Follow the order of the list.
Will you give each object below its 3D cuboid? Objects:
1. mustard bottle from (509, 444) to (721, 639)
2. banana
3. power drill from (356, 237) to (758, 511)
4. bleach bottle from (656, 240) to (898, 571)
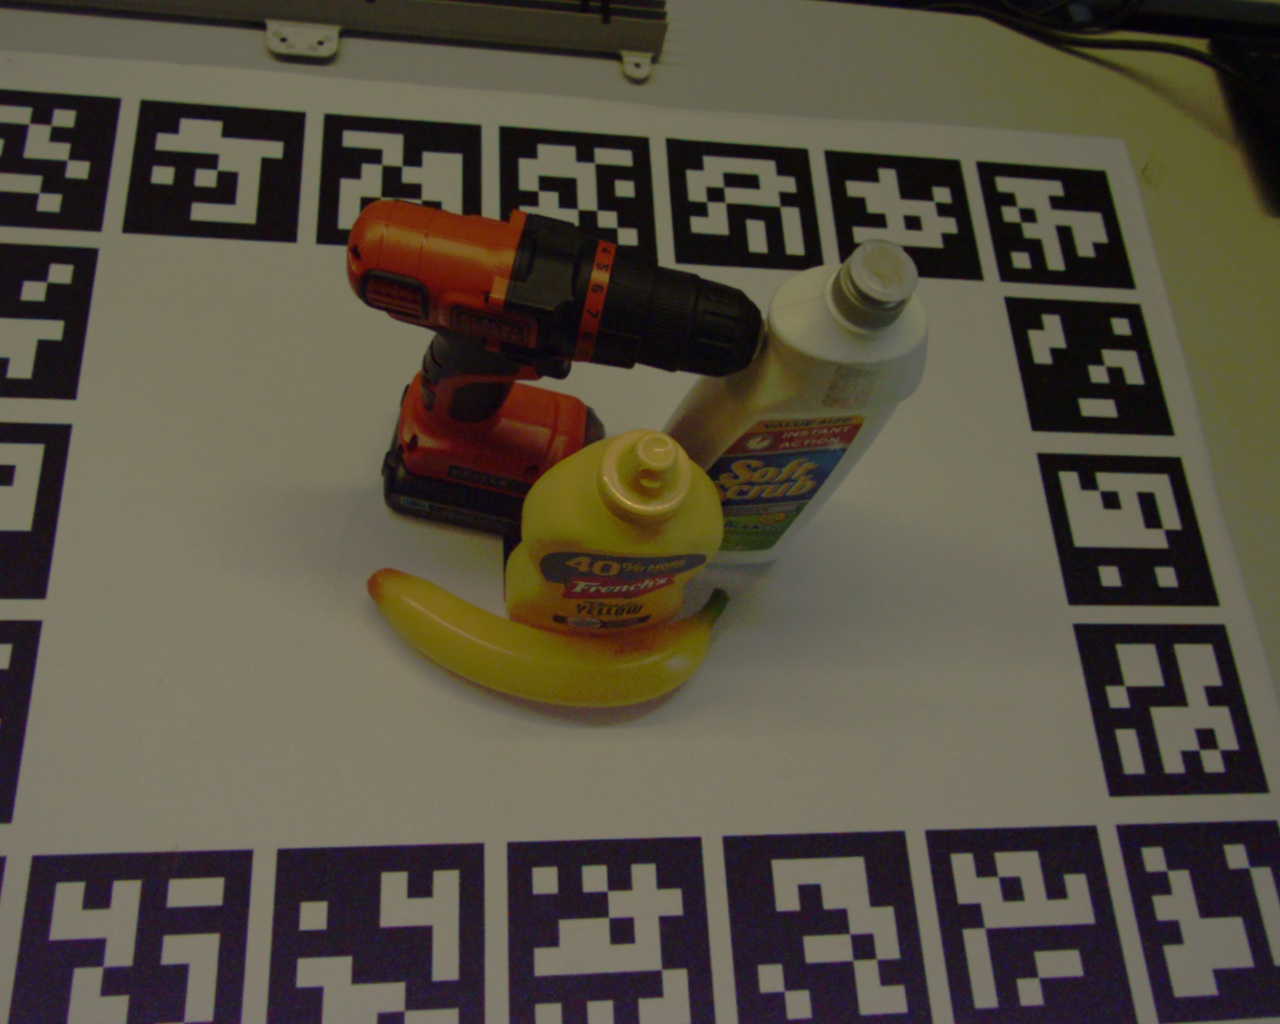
[{"bbox_3d":[-0.011,0.014,0.579,0.096,0.192,0.058,1,69,-12],"label":"mustard bottle"},{"bbox_3d":[-0.045,0.072,0.643,0.197,0.039,0.074,4,69,-6],"label":"banana"},{"bbox_3d":[-0.051,-0.060,0.579,0.184,0.187,0.057,12,66,-7],"label":"power drill"},{"bbox_3d":[0.059,-0.049,0.590,0.102,0.251,0.068,3,63,-10],"label":"bleach bottle"}]
